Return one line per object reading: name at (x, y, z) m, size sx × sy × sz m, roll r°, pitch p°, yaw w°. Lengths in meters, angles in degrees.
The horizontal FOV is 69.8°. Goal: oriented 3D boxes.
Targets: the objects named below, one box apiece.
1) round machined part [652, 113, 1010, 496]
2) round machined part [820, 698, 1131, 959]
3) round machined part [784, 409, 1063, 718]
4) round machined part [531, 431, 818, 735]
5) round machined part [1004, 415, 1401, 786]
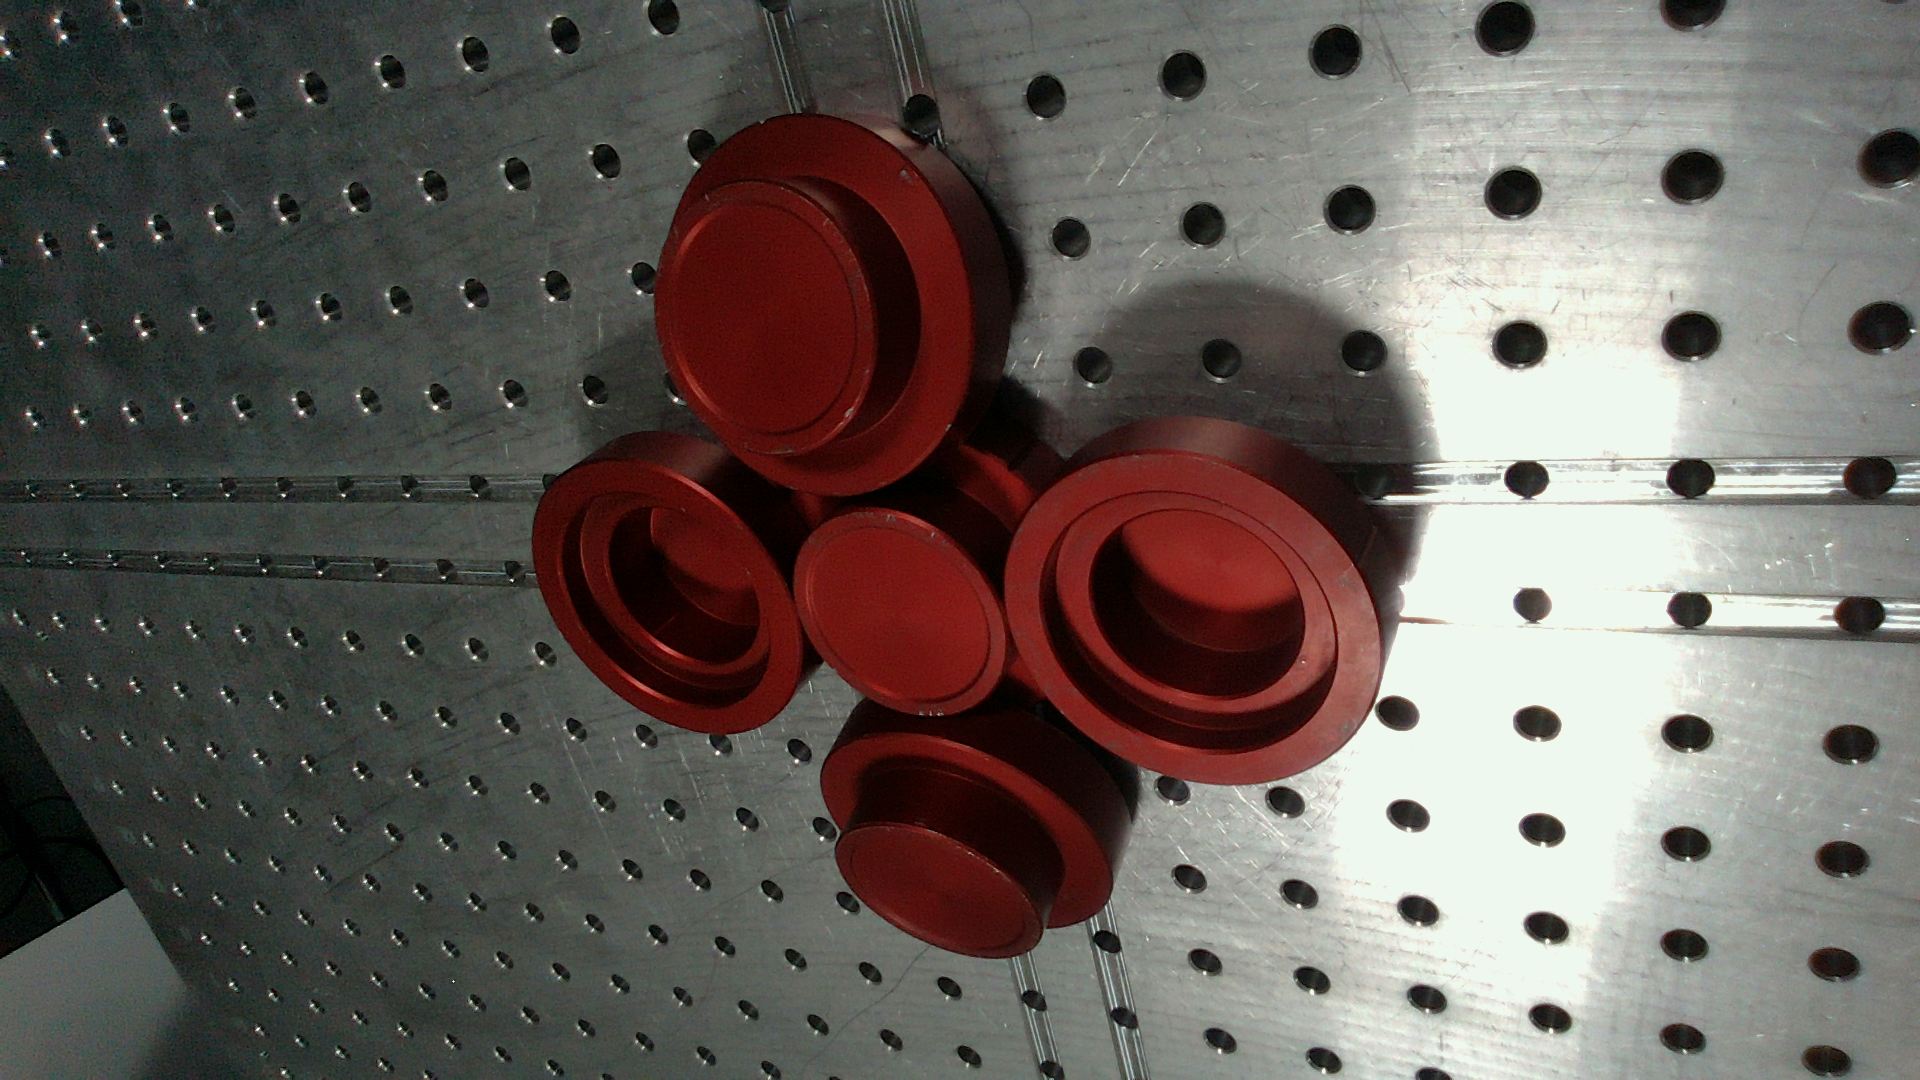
round machined part at (-0.040, -0.059, 0.355) m, size 0.098 × 0.042 × 0.098 m, roll 9°, pitch 108°, yaw 28°
round machined part at (0.001, 0.093, 0.427) m, size 0.098 × 0.042 × 0.098 m, roll 15°, pitch 139°, yaw 14°
round machined part at (-0.010, 0.012, 0.396) m, size 0.098 × 0.042 × 0.098 m, roll 13°, pitch 124°, yaw 21°
round machined part at (-0.083, 0.010, 0.435) m, size 0.098 × 0.042 × 0.098 m, roll 13°, pitch 124°, yaw 21°
round machined part at (0.064, 0.012, 0.357) m, size 0.098 × 0.042 × 0.098 m, roll 13°, pitch 124°, yaw 21°
